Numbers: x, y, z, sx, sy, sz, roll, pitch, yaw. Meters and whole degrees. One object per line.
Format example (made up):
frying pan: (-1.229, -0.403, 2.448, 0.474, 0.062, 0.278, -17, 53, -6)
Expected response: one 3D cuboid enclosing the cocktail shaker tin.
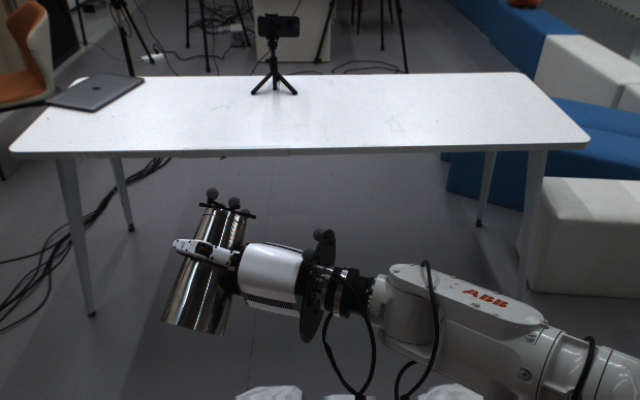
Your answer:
cocktail shaker tin: (-0.160, 0.103, 0.700, 0.093, 0.093, 0.170, 10, 71, 11)
